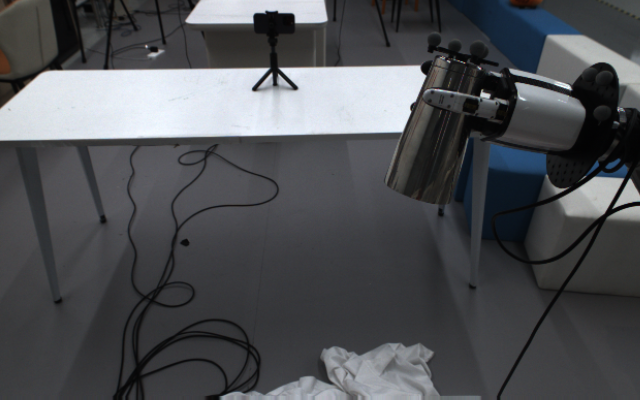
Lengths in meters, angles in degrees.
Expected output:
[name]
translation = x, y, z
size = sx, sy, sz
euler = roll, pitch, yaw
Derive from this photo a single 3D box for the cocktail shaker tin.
[cocktail shaker tin]
translation = 0.153, -0.093, 0.623
size = 0.093, 0.170, 0.093
euler = 14, 18, -5
